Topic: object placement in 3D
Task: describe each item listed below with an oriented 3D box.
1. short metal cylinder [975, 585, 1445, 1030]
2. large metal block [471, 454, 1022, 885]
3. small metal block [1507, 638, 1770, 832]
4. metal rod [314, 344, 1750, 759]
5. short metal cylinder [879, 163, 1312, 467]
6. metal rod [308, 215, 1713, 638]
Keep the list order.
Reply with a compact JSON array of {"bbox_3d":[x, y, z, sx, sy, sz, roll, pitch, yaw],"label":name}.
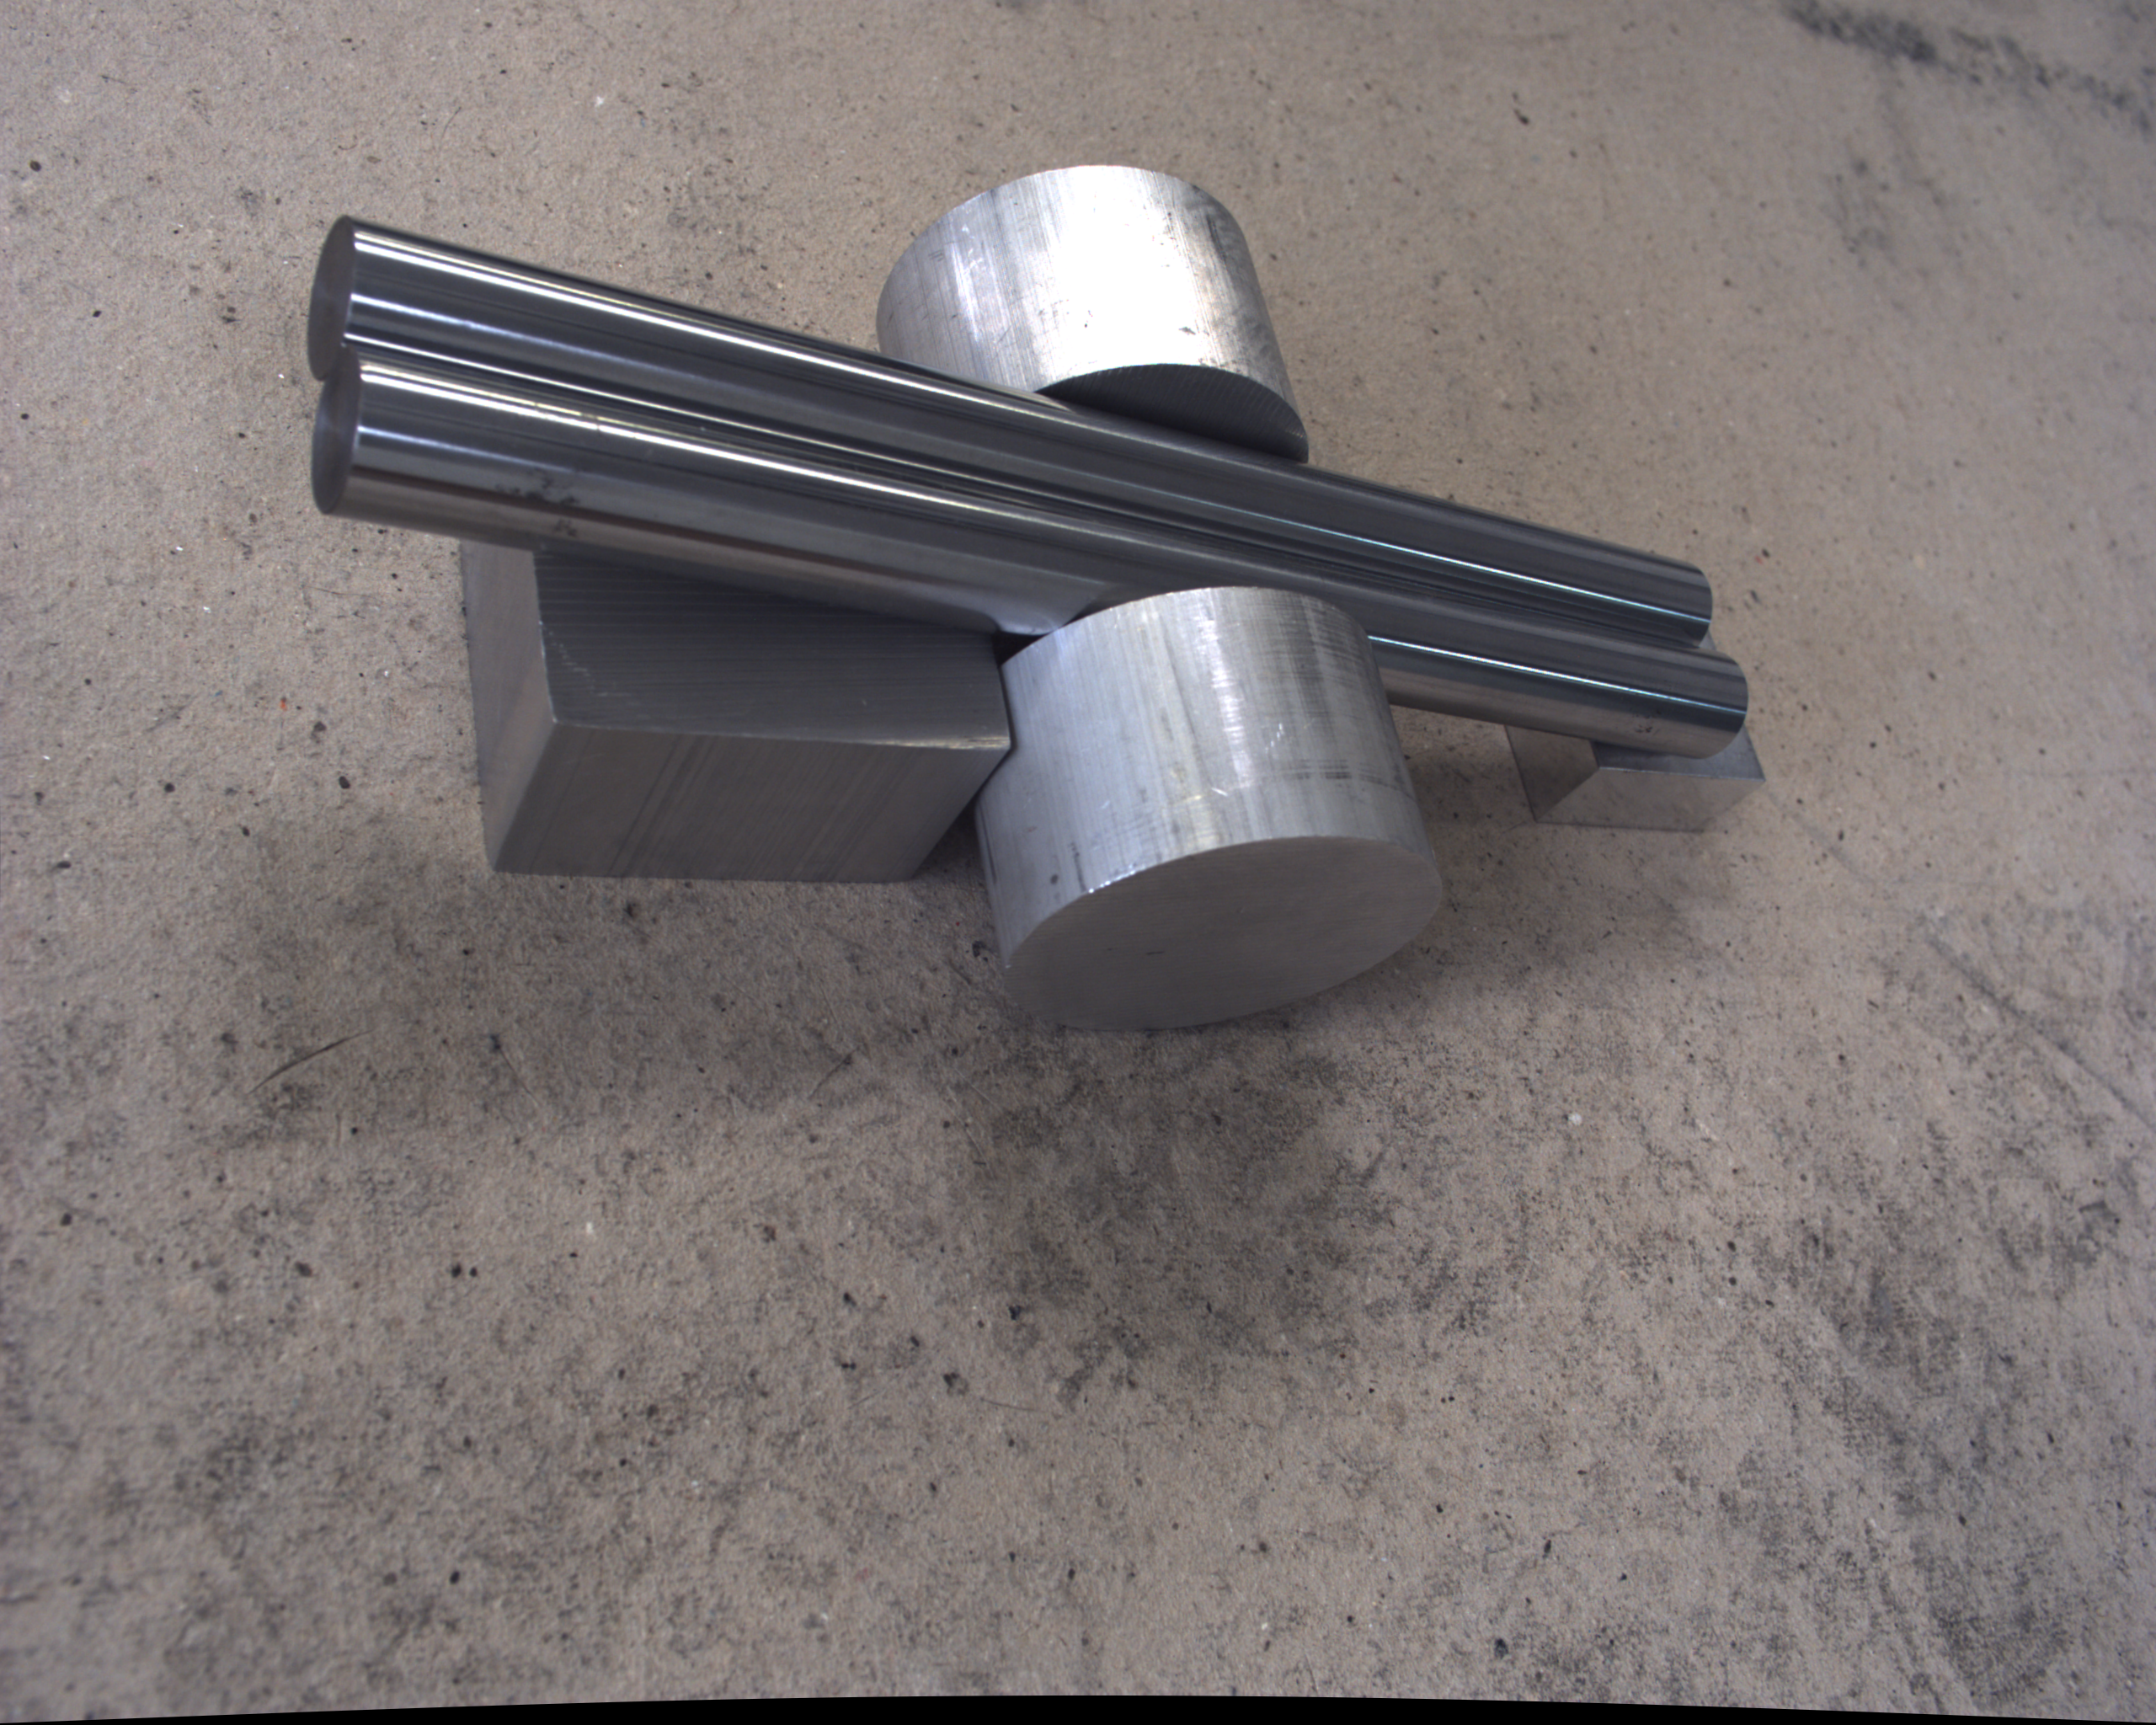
[{"bbox_3d":[0.022,-0.008,0.386,0.081,0.080,0.050,1,61,-28],"label":"short metal cylinder"},{"bbox_3d":[-0.064,-0.043,0.382,0.081,0.050,0.080,2,61,-27],"label":"large metal block"},{"bbox_3d":[0.130,-0.036,0.497,0.050,0.025,0.050,3,61,-27],"label":"small metal block"},{"bbox_3d":[0.017,-0.049,0.387,0.302,0.025,0.025,6,59,-34],"label":"metal rod"},{"bbox_3d":[0.003,-0.096,0.430,0.081,0.080,0.050,1,61,-28],"label":"short metal cylinder"},{"bbox_3d":[0.012,-0.071,0.398,0.302,0.025,0.025,6,59,-34],"label":"metal rod"}]
